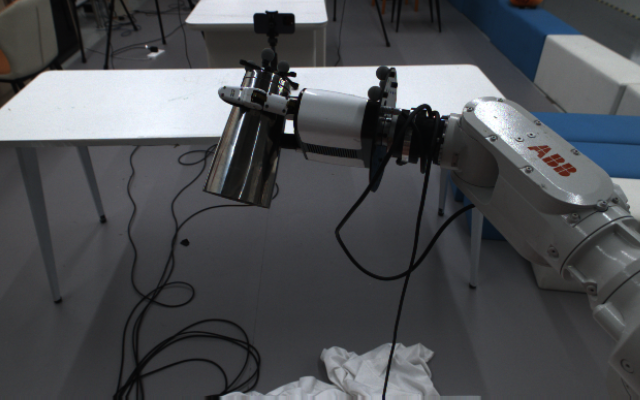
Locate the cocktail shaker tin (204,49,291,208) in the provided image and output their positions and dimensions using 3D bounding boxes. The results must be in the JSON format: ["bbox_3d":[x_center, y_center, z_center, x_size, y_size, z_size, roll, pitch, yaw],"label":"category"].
[{"bbox_3d":[-0.090,-0.084,0.653,0.093,0.170,0.093,15,-5,1],"label":"cocktail shaker tin"}]
